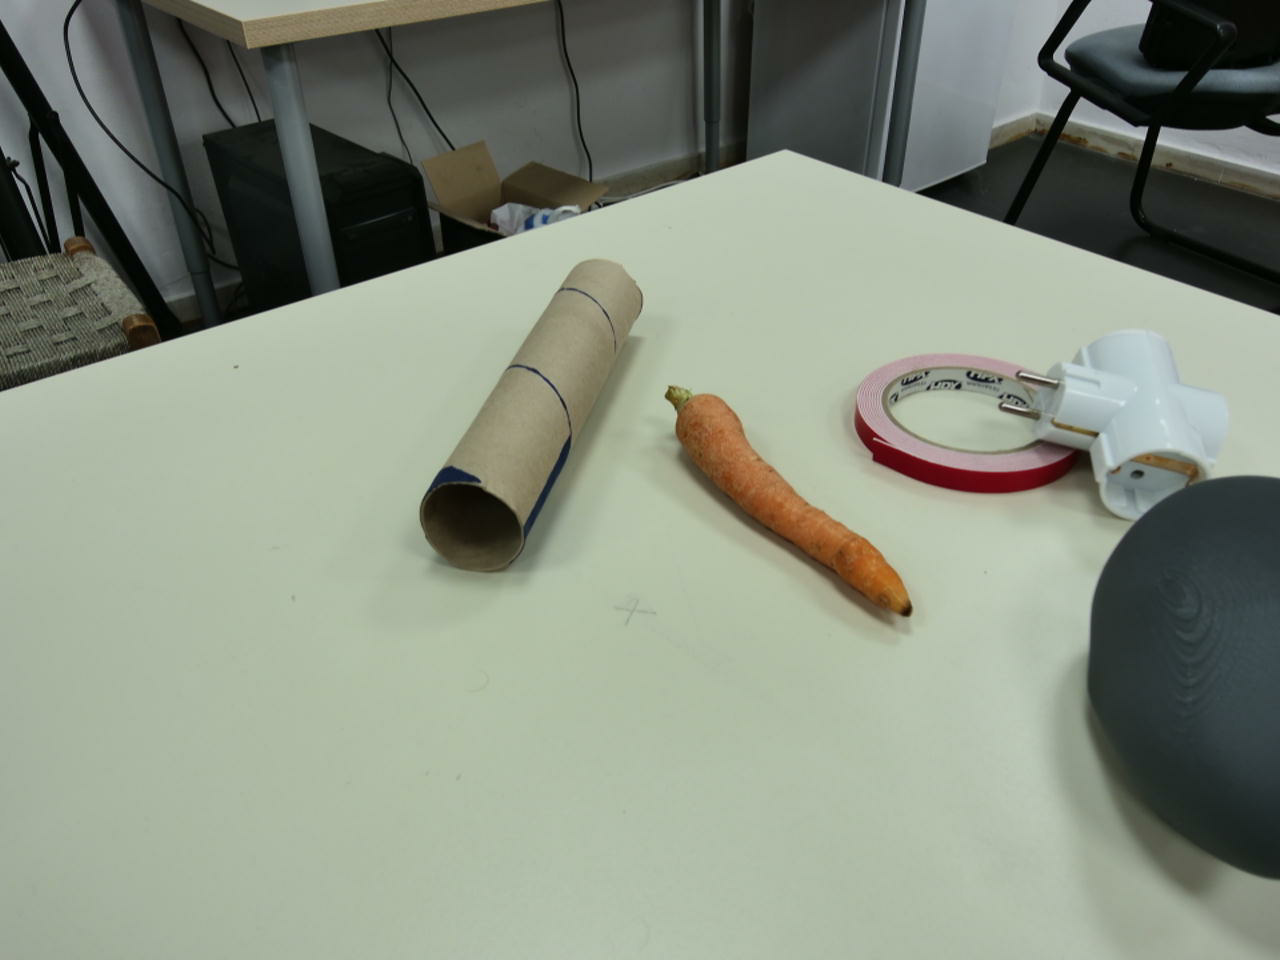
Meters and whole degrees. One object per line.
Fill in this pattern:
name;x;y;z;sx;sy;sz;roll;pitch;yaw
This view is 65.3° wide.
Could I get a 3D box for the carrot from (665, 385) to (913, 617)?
carrot;0.059;0.004;0.443;0.030;0.032;0.173;-18;38;-22
